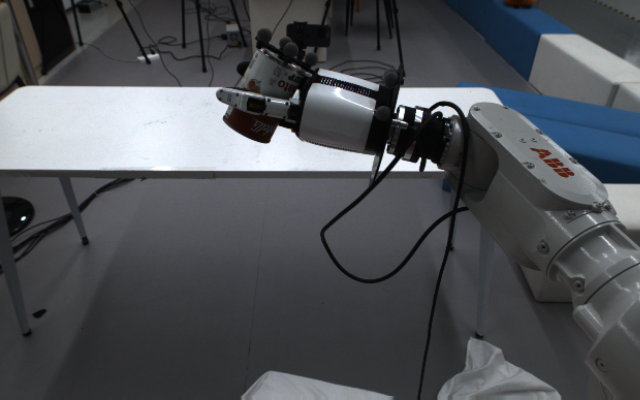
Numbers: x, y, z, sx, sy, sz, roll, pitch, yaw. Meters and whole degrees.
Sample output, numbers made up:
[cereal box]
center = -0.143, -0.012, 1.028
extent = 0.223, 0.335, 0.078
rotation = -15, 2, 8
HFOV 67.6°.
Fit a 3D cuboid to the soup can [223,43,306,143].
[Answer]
[soup can]
center = -0.070, -0.132, 0.608
extent = 0.067, 0.101, 0.067
rotation = 28, 18, -10
